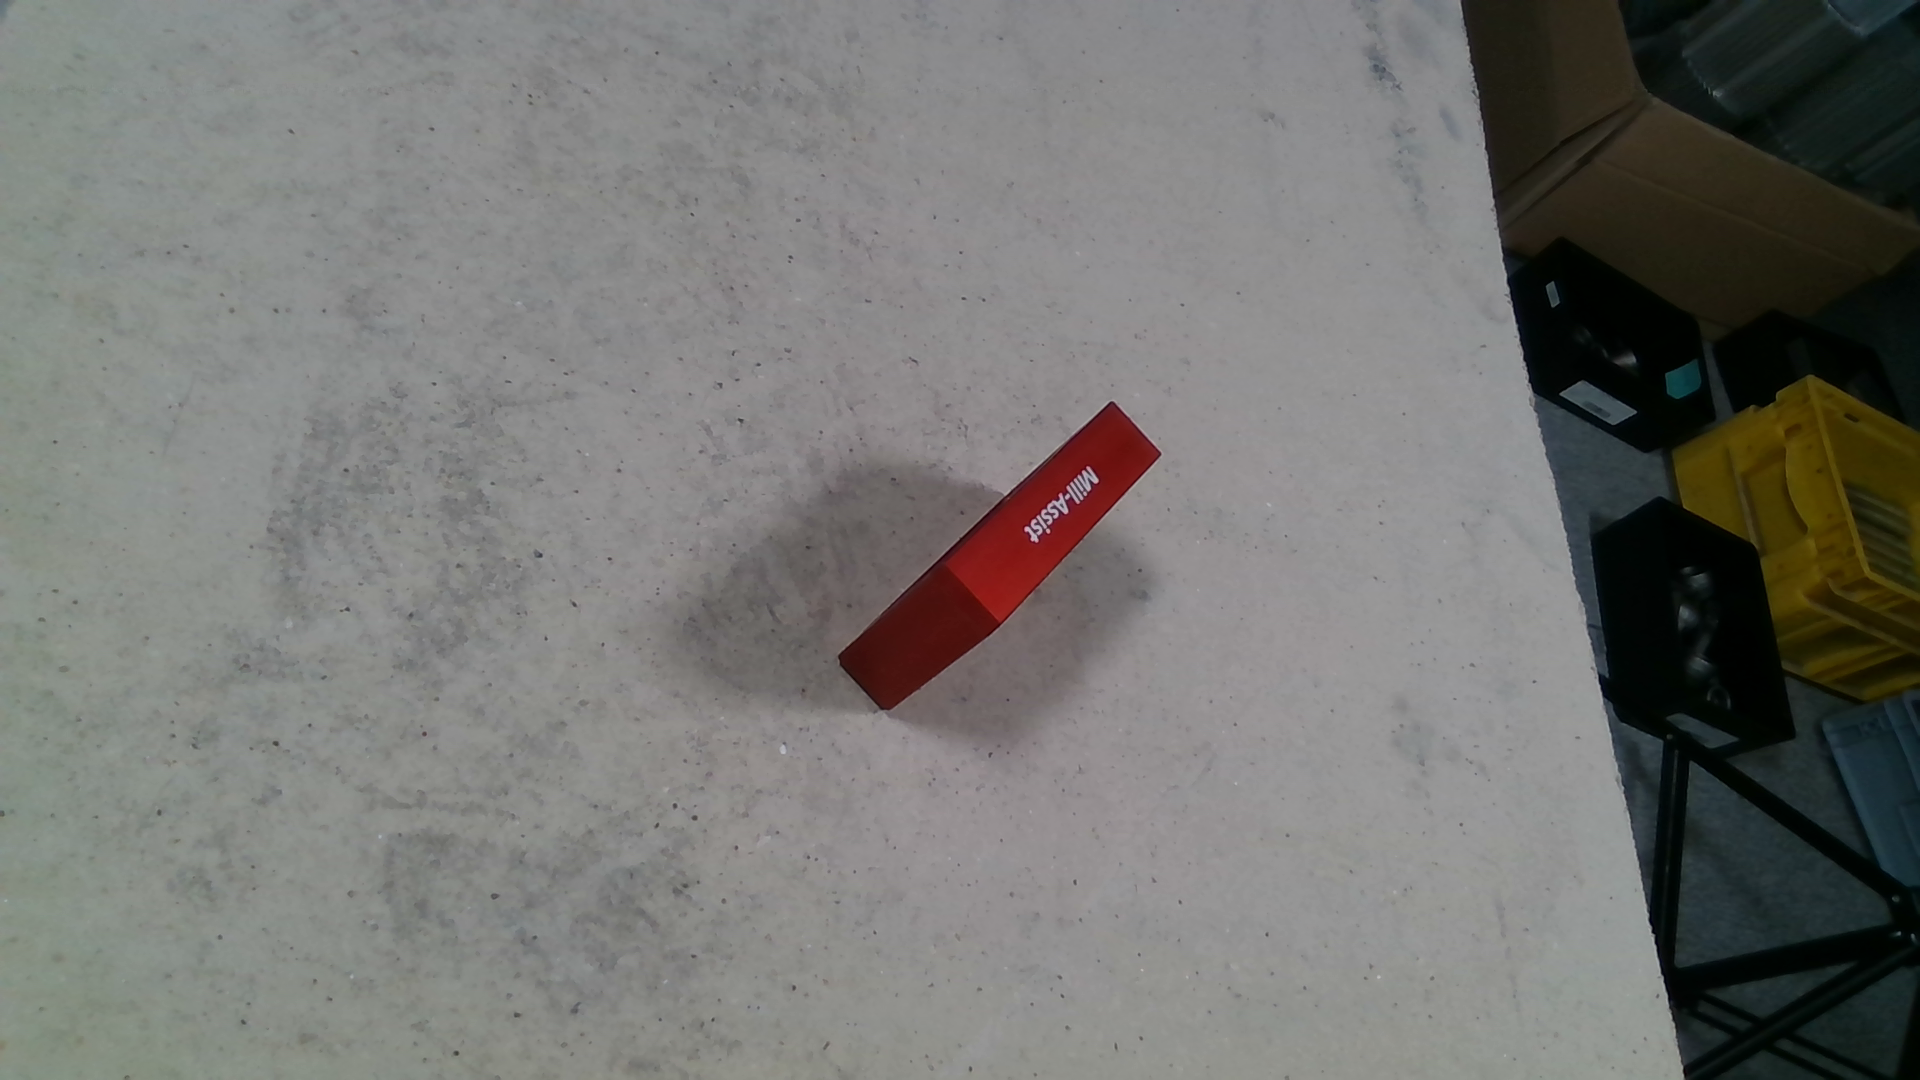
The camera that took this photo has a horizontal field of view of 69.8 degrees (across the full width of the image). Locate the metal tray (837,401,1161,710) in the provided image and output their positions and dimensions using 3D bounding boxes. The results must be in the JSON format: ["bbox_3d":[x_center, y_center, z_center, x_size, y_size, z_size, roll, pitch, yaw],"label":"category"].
[{"bbox_3d":[0.017,0.005,0.552,0.030,0.090,0.130,47,51,-1],"label":"metal tray"}]
